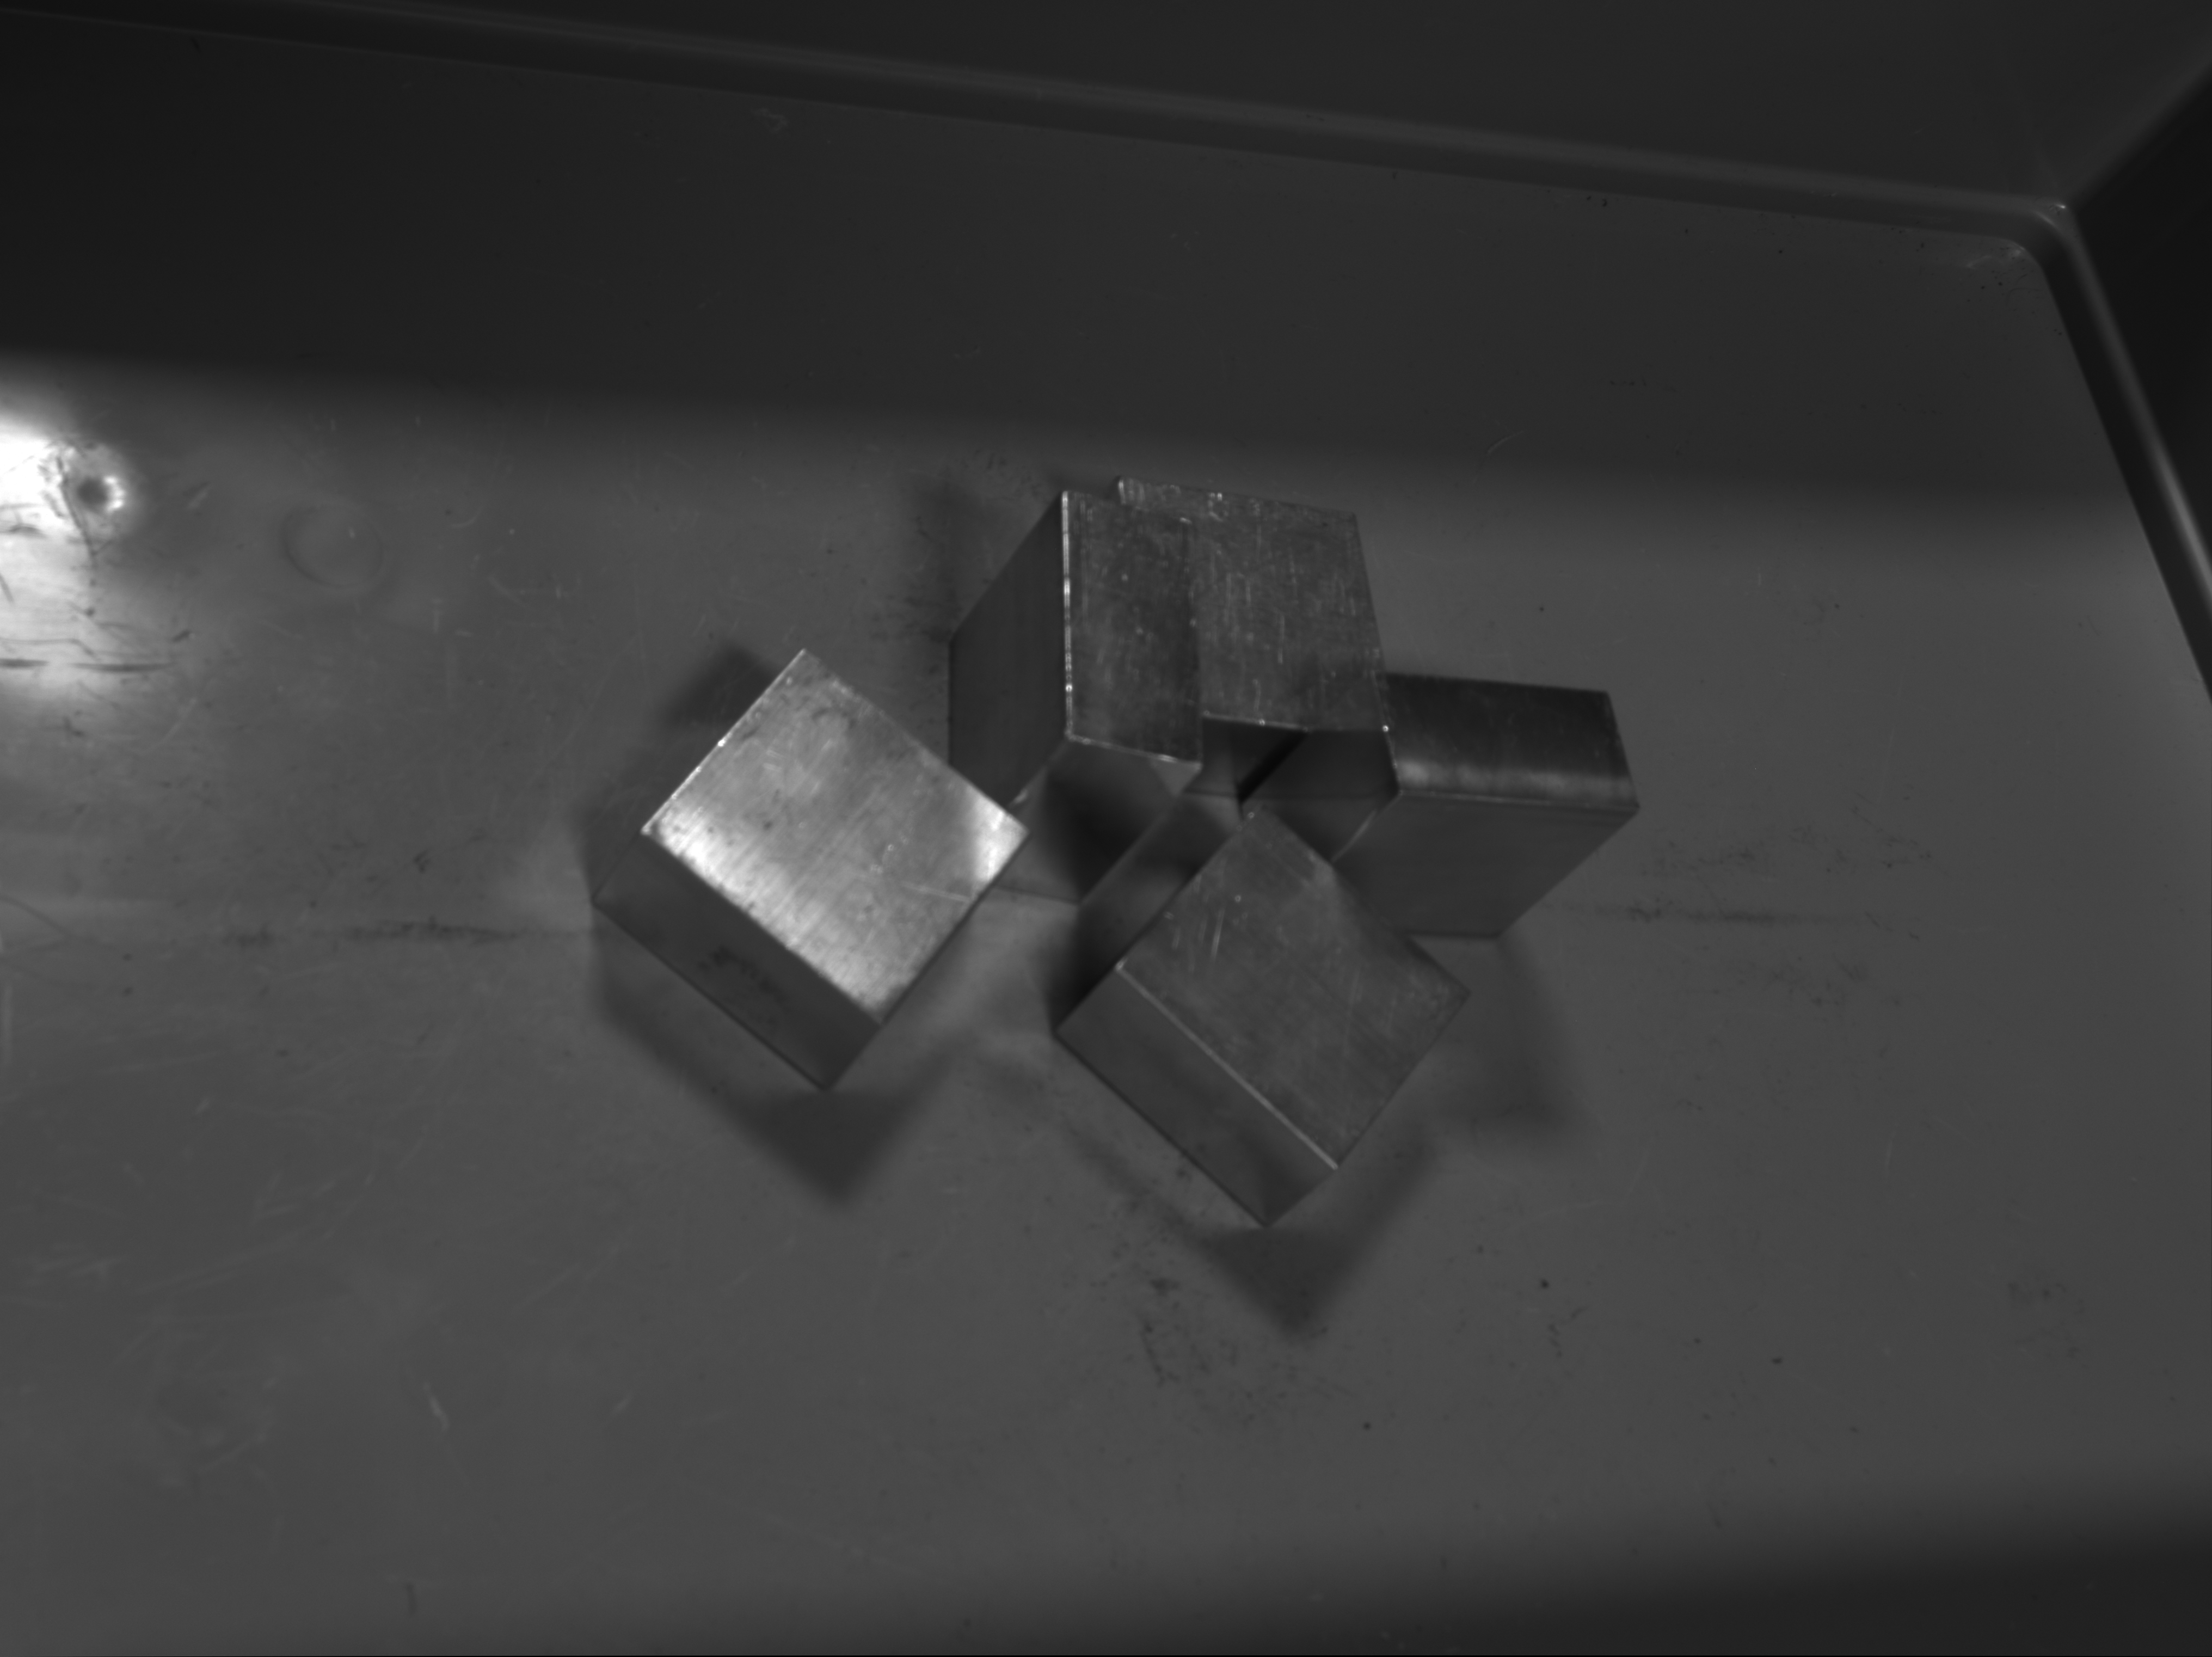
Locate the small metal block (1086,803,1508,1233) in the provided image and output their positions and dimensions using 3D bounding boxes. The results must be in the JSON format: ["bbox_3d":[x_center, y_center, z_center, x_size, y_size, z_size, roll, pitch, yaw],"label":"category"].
[{"bbox_3d":[0.033,0.033,0.636,0.050,0.025,0.050,42,51,1],"label":"small metal block"}]

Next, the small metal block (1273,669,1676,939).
[{"bbox_3d":[0.066,-0.003,0.659,0.050,0.050,0.025,3,60,-27],"label":"small metal block"}]

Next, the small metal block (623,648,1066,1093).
[{"bbox_3d":[-0.043,0.007,0.611,0.050,0.025,0.050,39,51,-2],"label":"small metal block"}]

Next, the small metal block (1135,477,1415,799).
[{"bbox_3d":[0.028,-0.034,0.674,0.050,0.025,0.050,6,59,-25],"label":"small metal block"}]

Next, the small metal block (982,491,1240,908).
[{"bbox_3d":[0.000,-0.022,0.635,0.025,0.050,0.050,12,57,-22],"label":"small metal block"}]
